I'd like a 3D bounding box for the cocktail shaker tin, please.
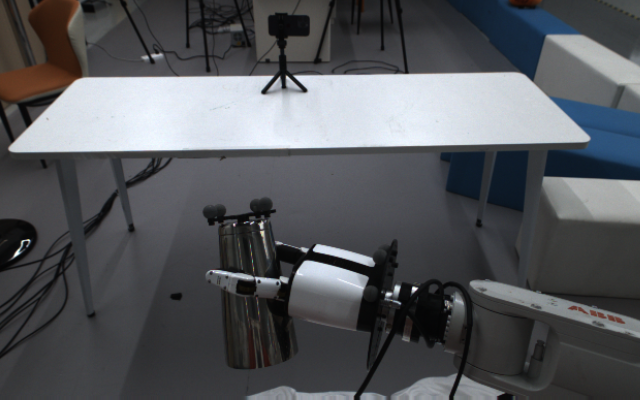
[{"bbox_3d":[-0.083,0.113,0.608,0.093,0.170,0.093,-8,1,0],"label":"cocktail shaker tin"}]
